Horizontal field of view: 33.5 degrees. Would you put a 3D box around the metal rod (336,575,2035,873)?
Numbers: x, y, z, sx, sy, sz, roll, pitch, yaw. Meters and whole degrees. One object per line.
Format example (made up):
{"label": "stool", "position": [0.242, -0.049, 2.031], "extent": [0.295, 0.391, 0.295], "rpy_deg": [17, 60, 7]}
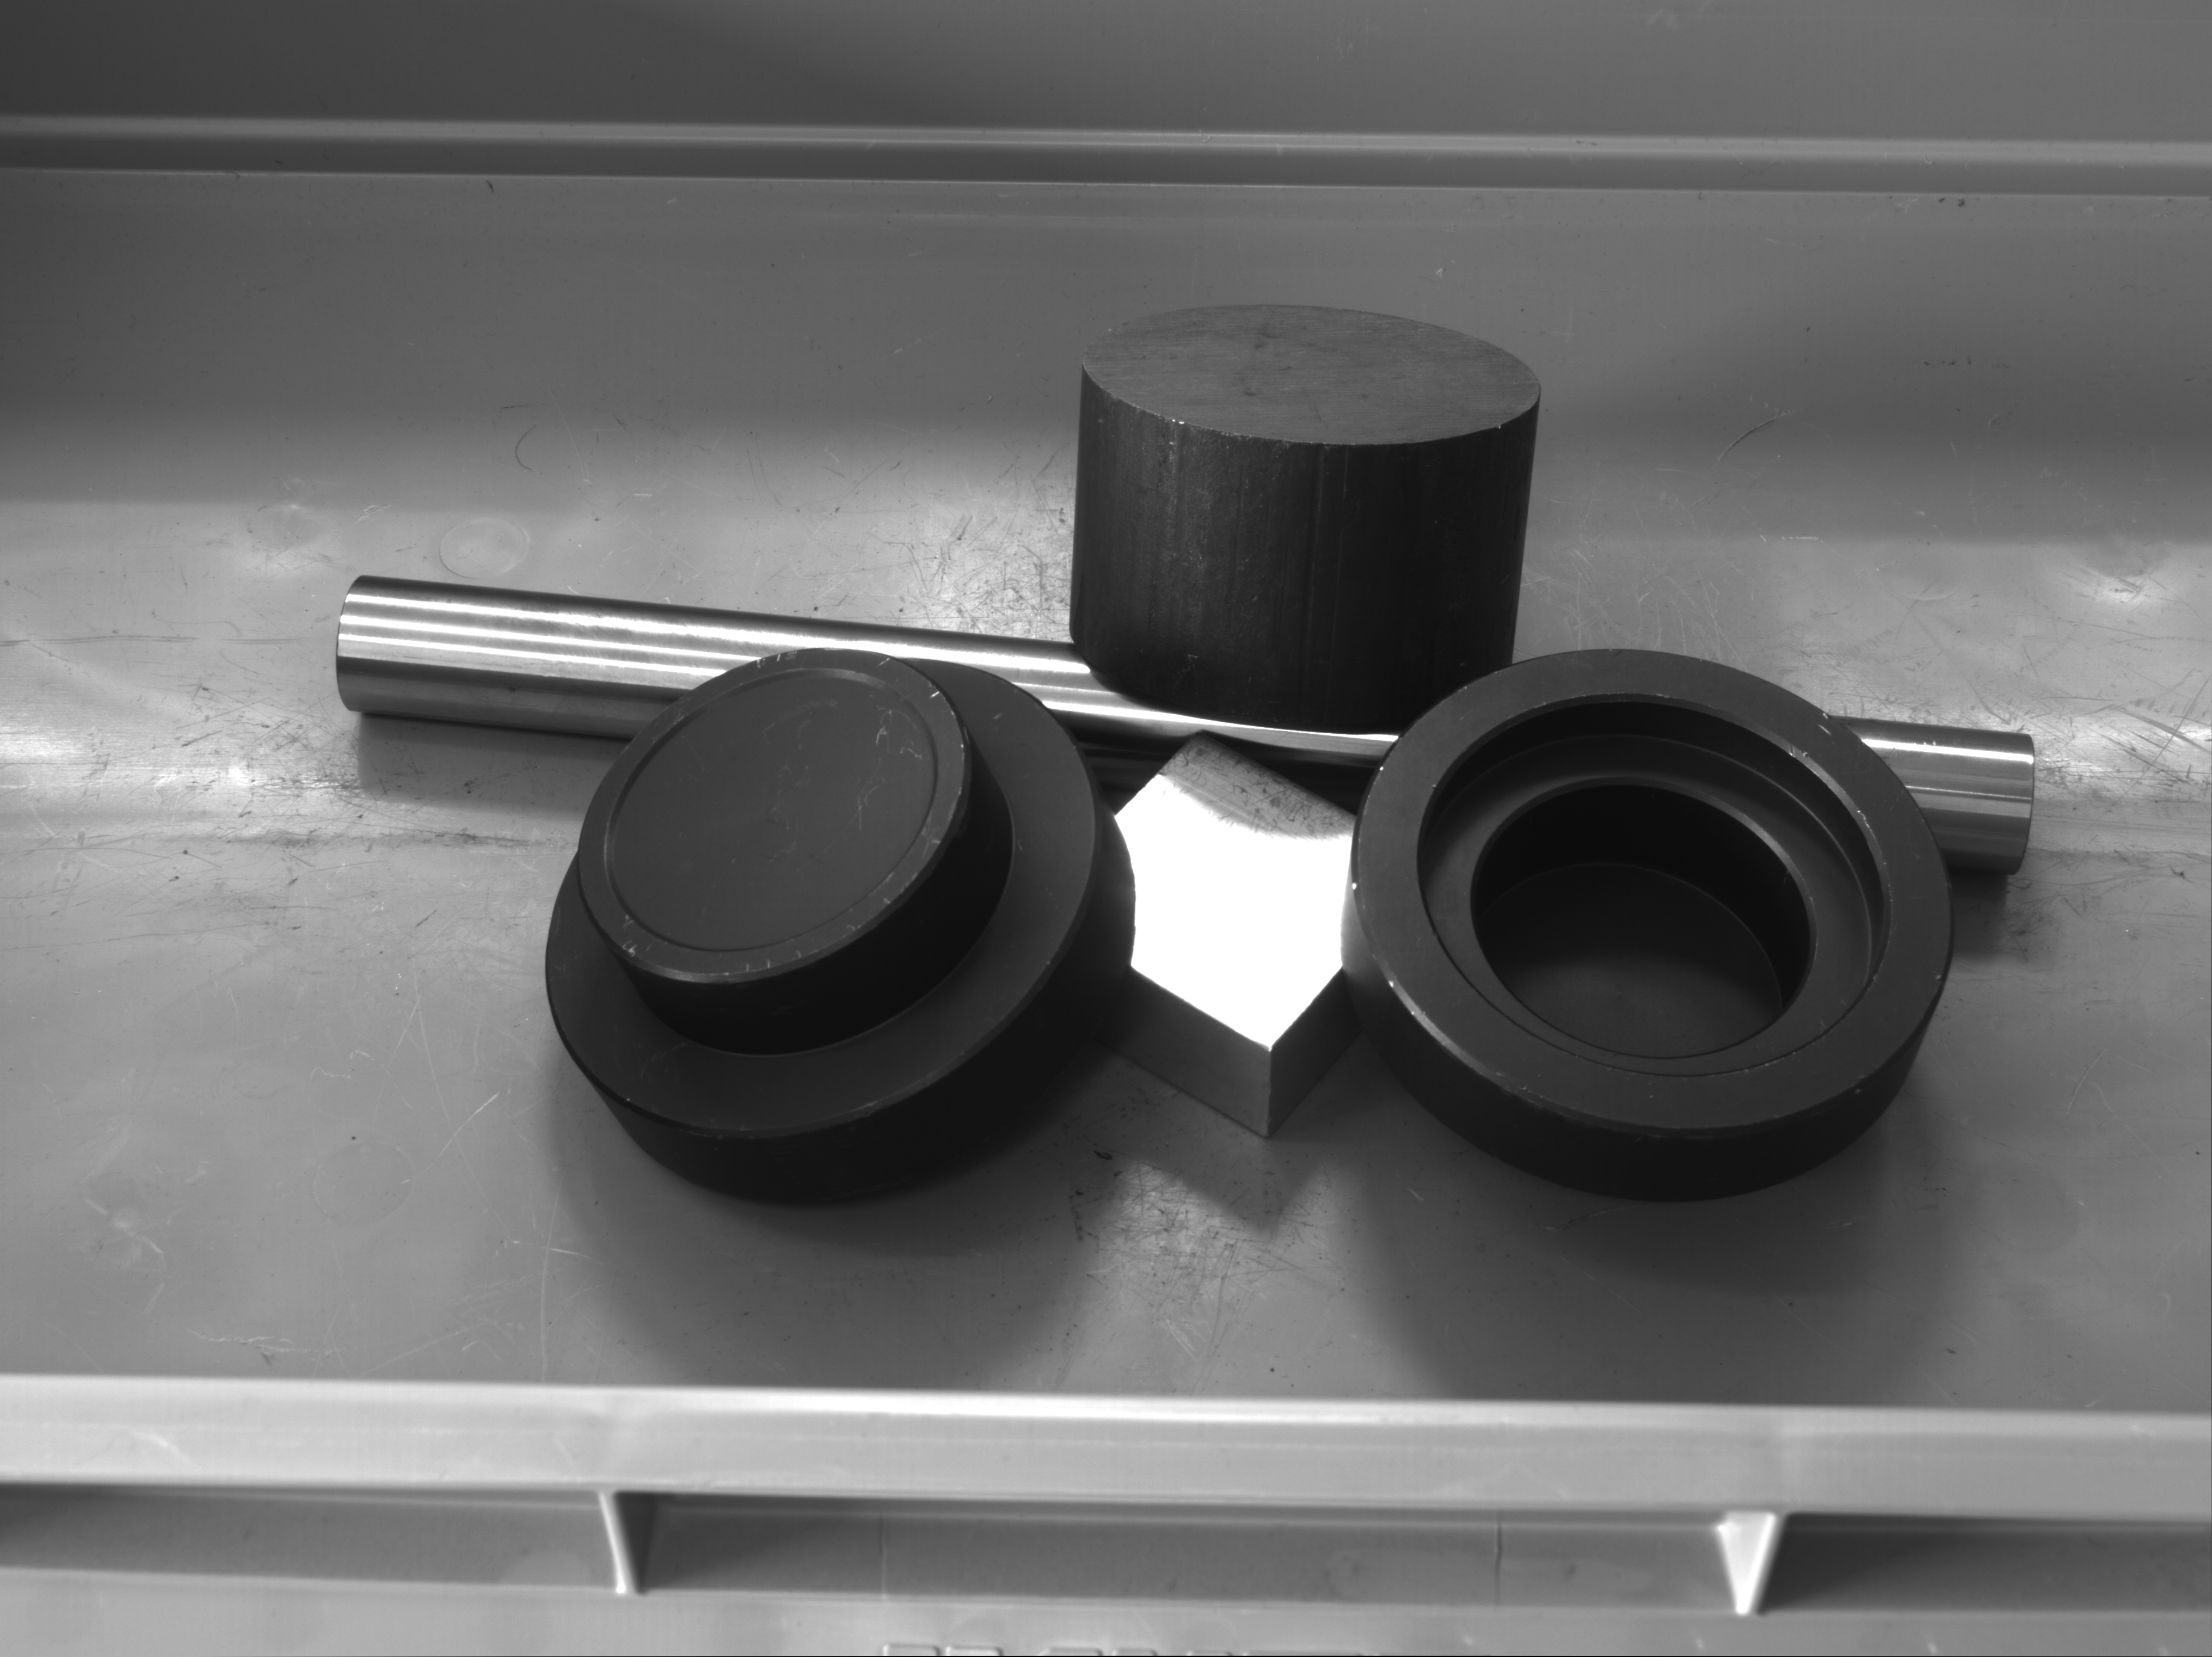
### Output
{"label": "metal rod", "position": [0.012, -0.019, 0.657], "extent": [0.300, 0.025, 0.025], "rpy_deg": [6, 50, 5]}

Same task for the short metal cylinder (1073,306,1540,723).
{"label": "short metal cylinder", "position": [0.035, -0.057, 0.654], "extent": [0.080, 0.050, 0.080], "rpy_deg": [3, 24, -1]}

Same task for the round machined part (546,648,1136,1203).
{"label": "round machined part", "position": [-0.048, 0.009, 0.605], "extent": [0.098, 0.042, 0.098], "rpy_deg": [-12, 49, 14]}

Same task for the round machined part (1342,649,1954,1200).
{"label": "round machined part", "position": [0.087, 0.020, 0.610], "extent": [0.098, 0.042, 0.098], "rpy_deg": [2, 52, -2]}

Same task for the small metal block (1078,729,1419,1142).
{"label": "small metal block", "position": [0.022, 0.018, 0.626], "extent": [0.050, 0.025, 0.050], "rpy_deg": [29, 56, 23]}
